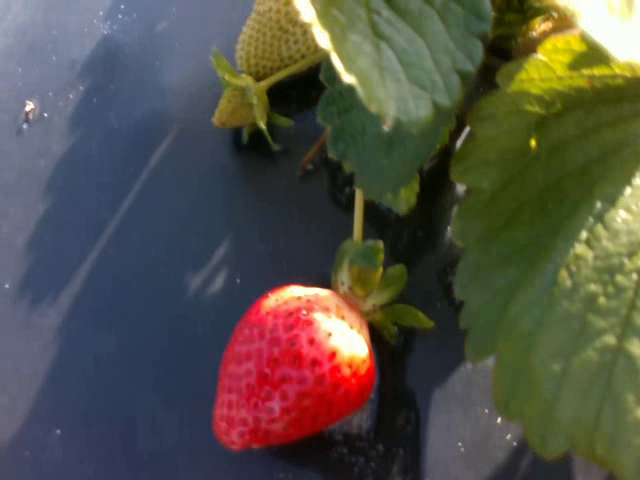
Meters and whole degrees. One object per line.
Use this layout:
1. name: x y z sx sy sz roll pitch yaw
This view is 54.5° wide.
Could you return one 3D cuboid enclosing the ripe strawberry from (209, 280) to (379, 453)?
1. ripe strawberry: -0.007 0.029 0.122 0.044 0.033 0.030 -42 25 -5
